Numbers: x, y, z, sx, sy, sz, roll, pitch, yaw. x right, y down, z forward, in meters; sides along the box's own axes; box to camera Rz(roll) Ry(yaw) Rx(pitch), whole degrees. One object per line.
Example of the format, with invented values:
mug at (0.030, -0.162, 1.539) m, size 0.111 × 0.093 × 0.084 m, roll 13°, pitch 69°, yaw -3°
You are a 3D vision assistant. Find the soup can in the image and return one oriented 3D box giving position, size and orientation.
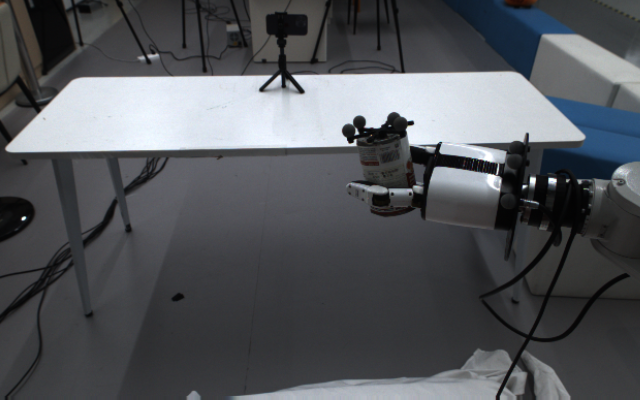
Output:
soup can at (0.092, -0.038, 0.637) m, size 0.067 × 0.101 × 0.067 m, roll -13°, pitch 20°, yaw 5°
